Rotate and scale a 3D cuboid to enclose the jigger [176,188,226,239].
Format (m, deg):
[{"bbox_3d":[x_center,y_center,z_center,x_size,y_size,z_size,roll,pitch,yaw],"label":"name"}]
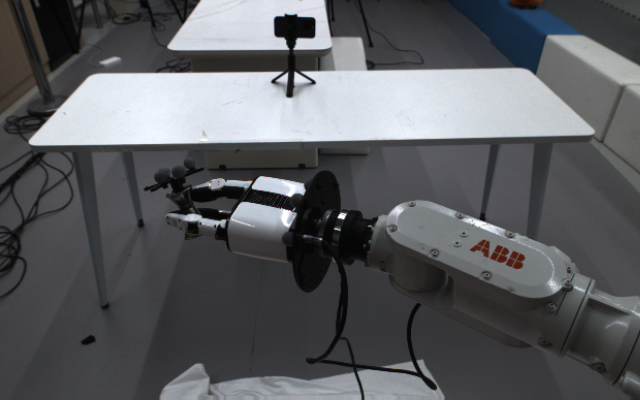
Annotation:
[{"bbox_3d":[-0.183,0.016,0.690,0.043,0.071,0.043,-20,16,6],"label":"jigger"}]
